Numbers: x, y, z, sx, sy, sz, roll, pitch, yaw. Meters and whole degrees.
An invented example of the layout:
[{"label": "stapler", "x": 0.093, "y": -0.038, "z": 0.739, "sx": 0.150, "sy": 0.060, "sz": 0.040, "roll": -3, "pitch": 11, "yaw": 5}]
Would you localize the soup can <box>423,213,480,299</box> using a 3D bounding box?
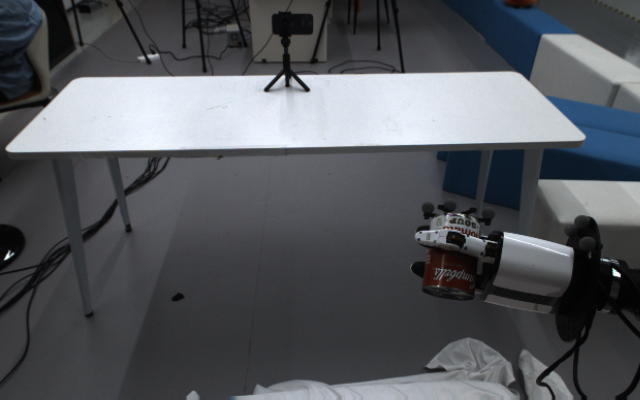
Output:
[{"label": "soup can", "x": 0.176, "y": 0.075, "z": 0.640, "sx": 0.067, "sy": 0.067, "sz": 0.101, "roll": 9, "pitch": 70, "yaw": 10}]
